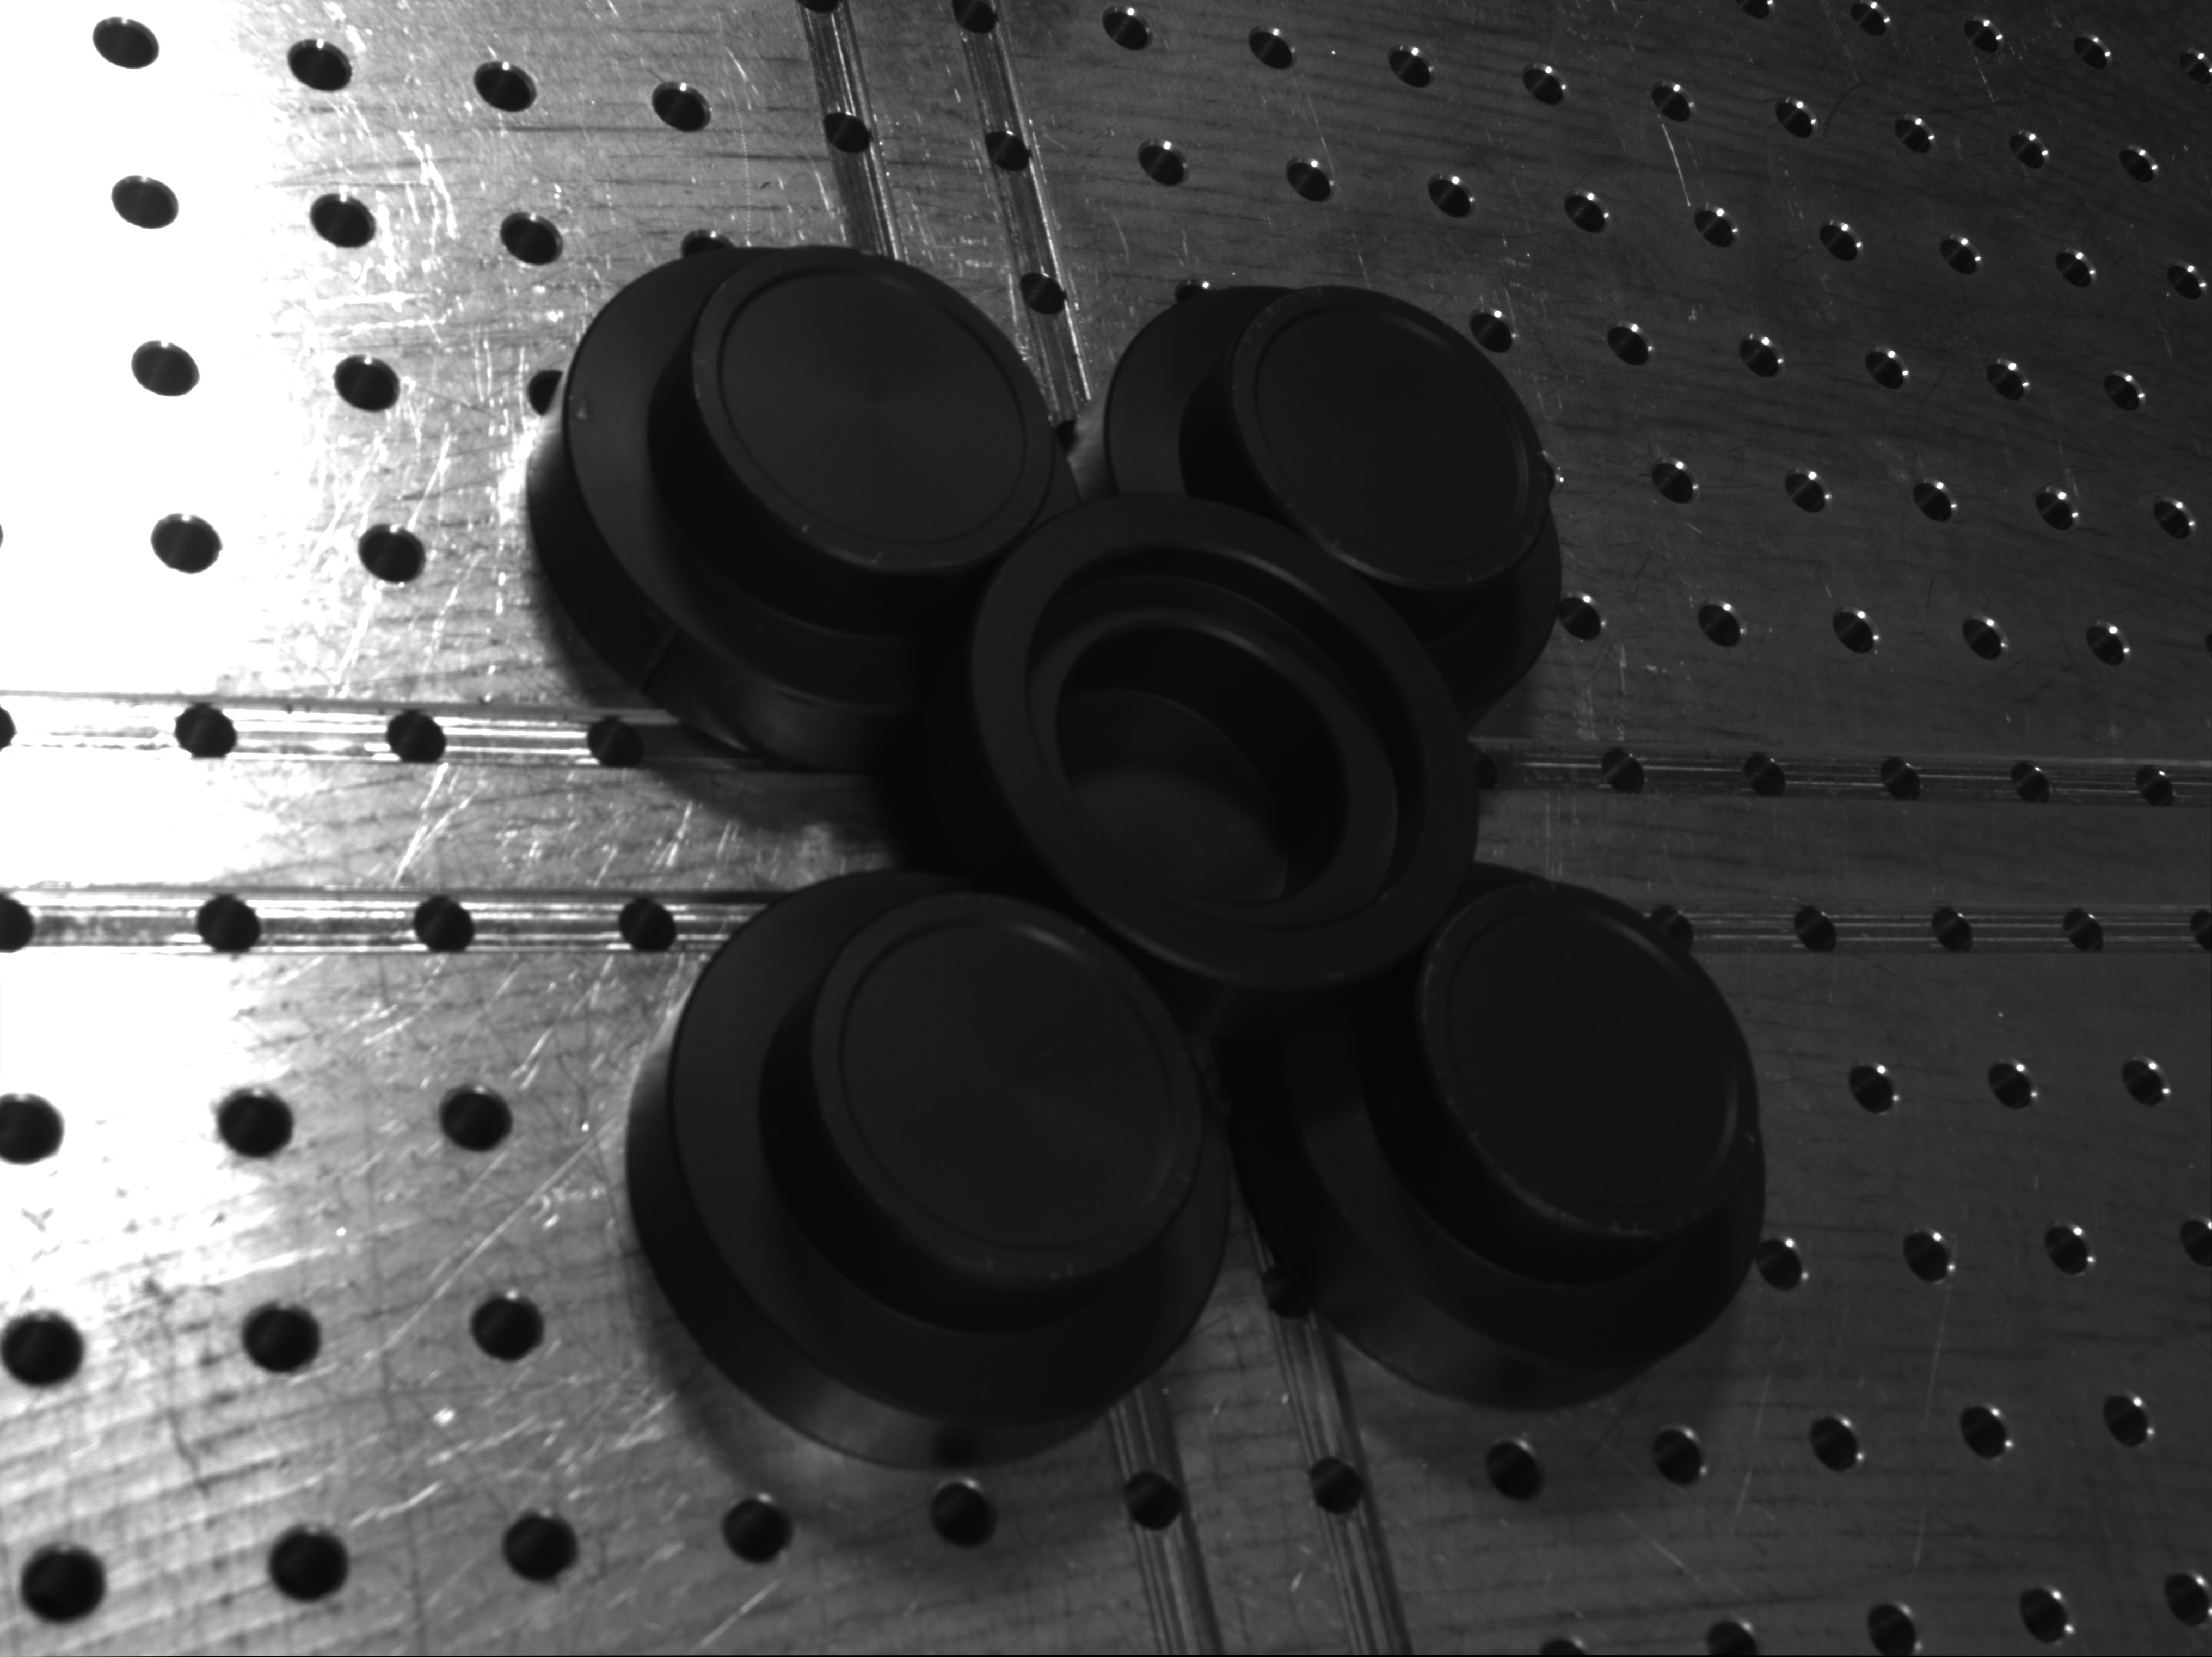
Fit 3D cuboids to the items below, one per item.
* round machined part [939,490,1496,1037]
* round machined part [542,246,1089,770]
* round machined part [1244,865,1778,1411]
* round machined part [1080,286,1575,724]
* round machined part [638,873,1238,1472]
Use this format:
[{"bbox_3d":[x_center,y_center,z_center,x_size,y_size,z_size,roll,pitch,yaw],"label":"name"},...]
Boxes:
[{"bbox_3d":[0.016,-0.007,0.643,0.098,0.042,0.098,14,56,-21],"label":"round machined part"},{"bbox_3d":[-0.046,-0.063,0.645,0.098,0.042,0.098,14,56,-21],"label":"round machined part"},{"bbox_3d":[0.077,0.049,0.643,0.098,0.042,0.098,14,56,-21],"label":"round machined part"},{"bbox_3d":[0.047,-0.063,0.695,0.098,0.042,0.098,14,56,-21],"label":"round machined part"},{"bbox_3d":[-0.022,0.050,0.590,0.098,0.042,0.098,14,56,-21],"label":"round machined part"}]
